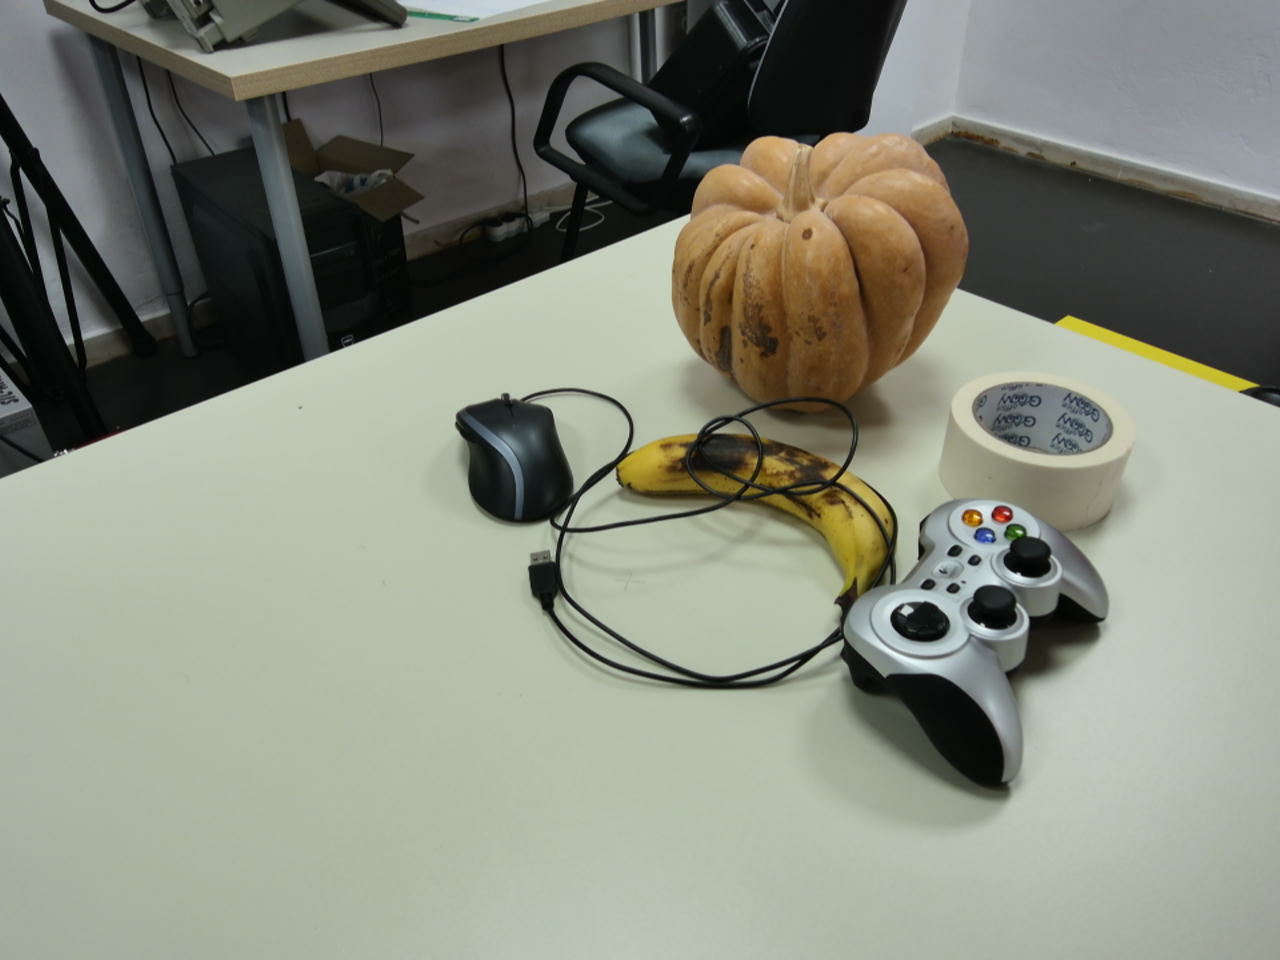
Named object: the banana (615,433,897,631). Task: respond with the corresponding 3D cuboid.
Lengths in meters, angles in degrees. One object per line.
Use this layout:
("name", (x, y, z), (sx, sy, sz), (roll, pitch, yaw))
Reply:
("banana", (0.079, 0.013, 0.597), (0.094, 0.039, 0.187), (-29, 45, -33))
